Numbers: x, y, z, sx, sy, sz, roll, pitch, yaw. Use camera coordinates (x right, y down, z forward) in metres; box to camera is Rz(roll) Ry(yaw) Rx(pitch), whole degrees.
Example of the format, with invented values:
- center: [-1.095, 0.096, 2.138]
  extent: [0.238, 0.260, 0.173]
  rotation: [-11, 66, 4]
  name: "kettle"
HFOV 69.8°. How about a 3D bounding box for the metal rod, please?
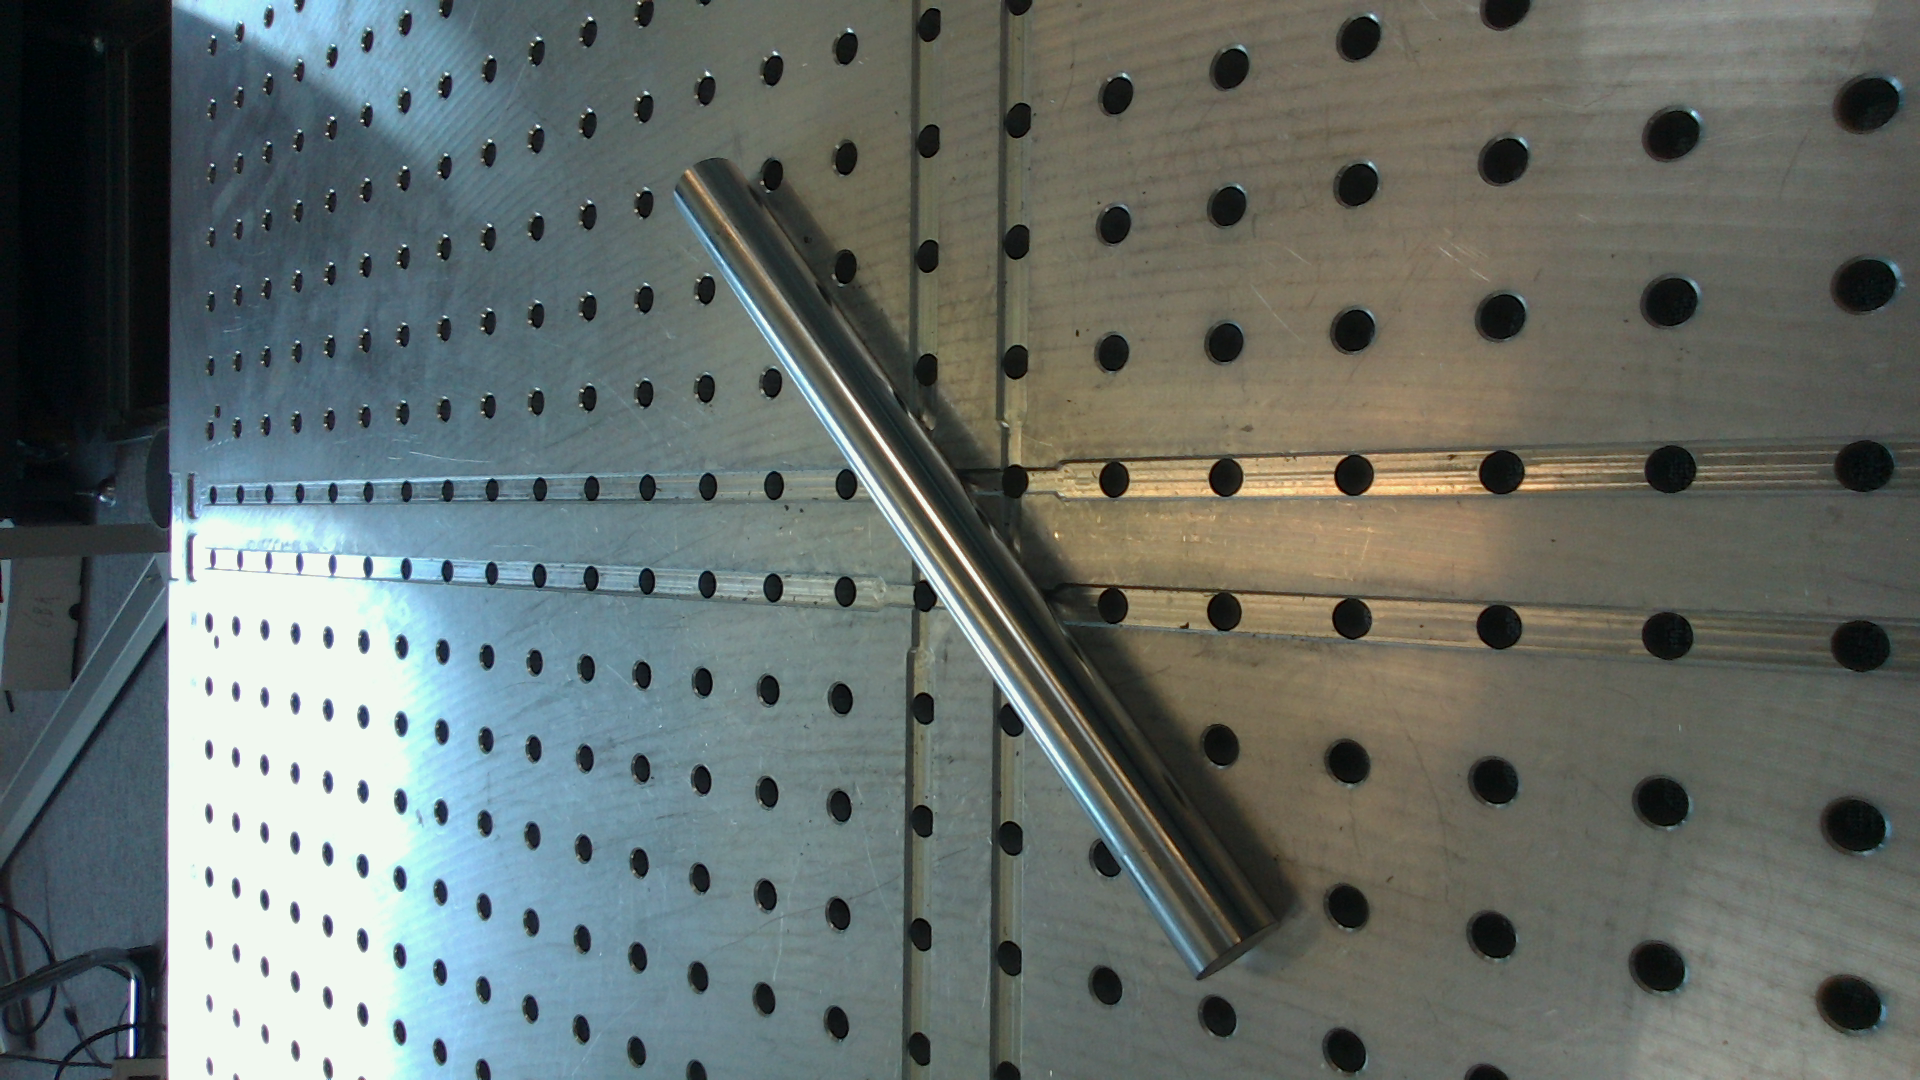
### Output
- center: [-0.009, -0.010, 0.406]
  extent: [0.025, 0.025, 0.299]
  rotation: [-50, 60, 28]
  name: "metal rod"
